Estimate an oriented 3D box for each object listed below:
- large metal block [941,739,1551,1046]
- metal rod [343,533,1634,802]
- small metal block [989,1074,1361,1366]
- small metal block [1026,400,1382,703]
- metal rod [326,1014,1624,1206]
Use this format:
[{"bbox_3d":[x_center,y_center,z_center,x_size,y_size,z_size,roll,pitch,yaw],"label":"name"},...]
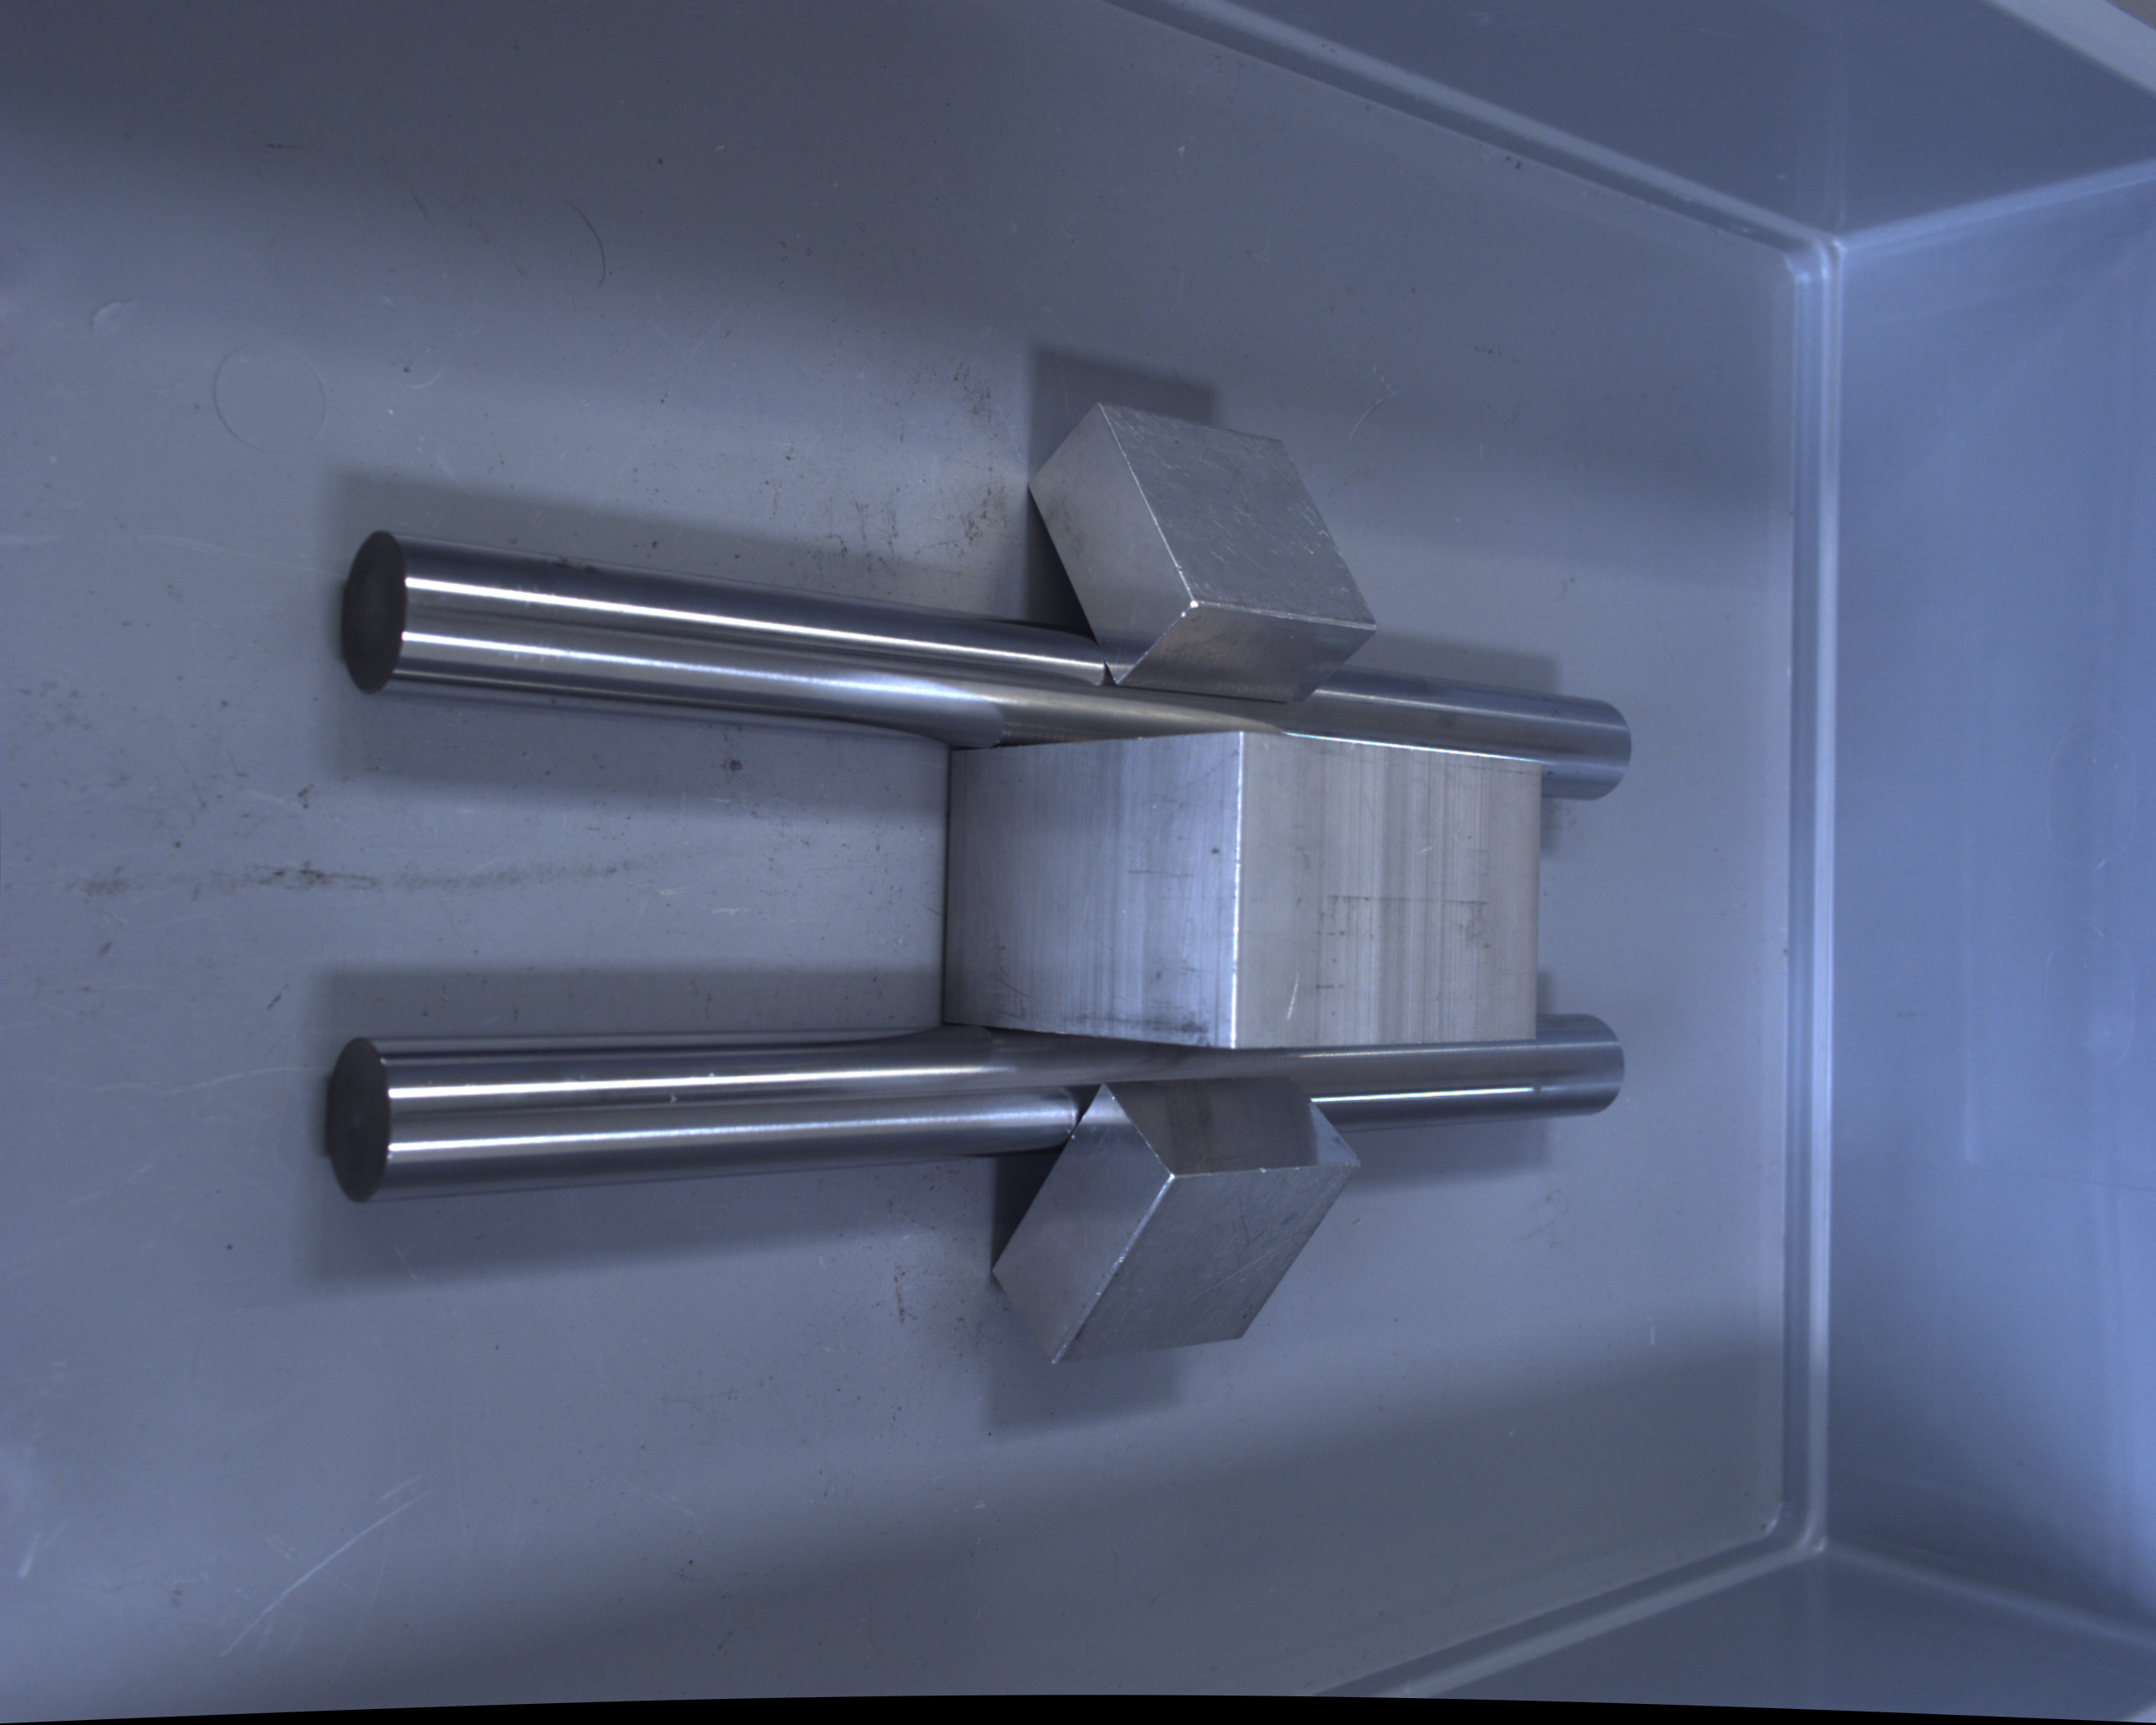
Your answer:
[{"bbox_3d":[0.031,0.006,0.394,0.081,0.080,0.050,2,89,-40],"label":"large metal block"},{"bbox_3d":[0.010,-0.032,0.412,0.302,0.025,0.025,3,89,-40],"label":"metal rod"},{"bbox_3d":[0.019,0.069,0.405,0.050,0.025,0.050,4,125,-40],"label":"small metal block"},{"bbox_3d":[0.025,-0.060,0.410,0.050,0.025,0.050,1,55,-40],"label":"small metal block"},{"bbox_3d":[0.007,0.044,0.411,0.302,0.025,0.025,3,89,-40],"label":"metal rod"}]
